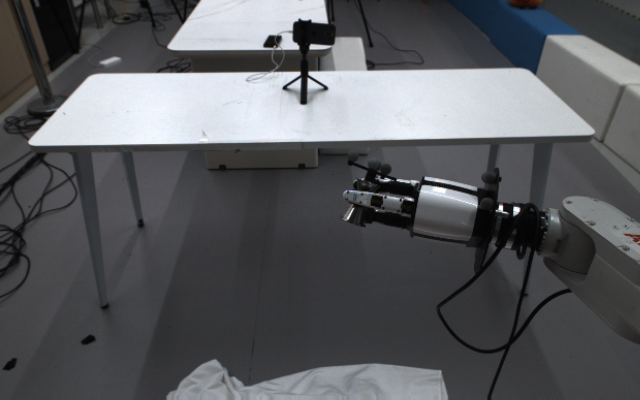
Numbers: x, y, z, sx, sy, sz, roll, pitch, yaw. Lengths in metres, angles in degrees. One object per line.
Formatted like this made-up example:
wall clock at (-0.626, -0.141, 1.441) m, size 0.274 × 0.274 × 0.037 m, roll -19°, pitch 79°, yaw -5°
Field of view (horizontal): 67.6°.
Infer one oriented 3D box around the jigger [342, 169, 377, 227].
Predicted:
jigger at (0.061, 0.001, 0.746) m, size 0.043 × 0.071 × 0.043 m, roll 22°, pitch 6°, yaw -2°
